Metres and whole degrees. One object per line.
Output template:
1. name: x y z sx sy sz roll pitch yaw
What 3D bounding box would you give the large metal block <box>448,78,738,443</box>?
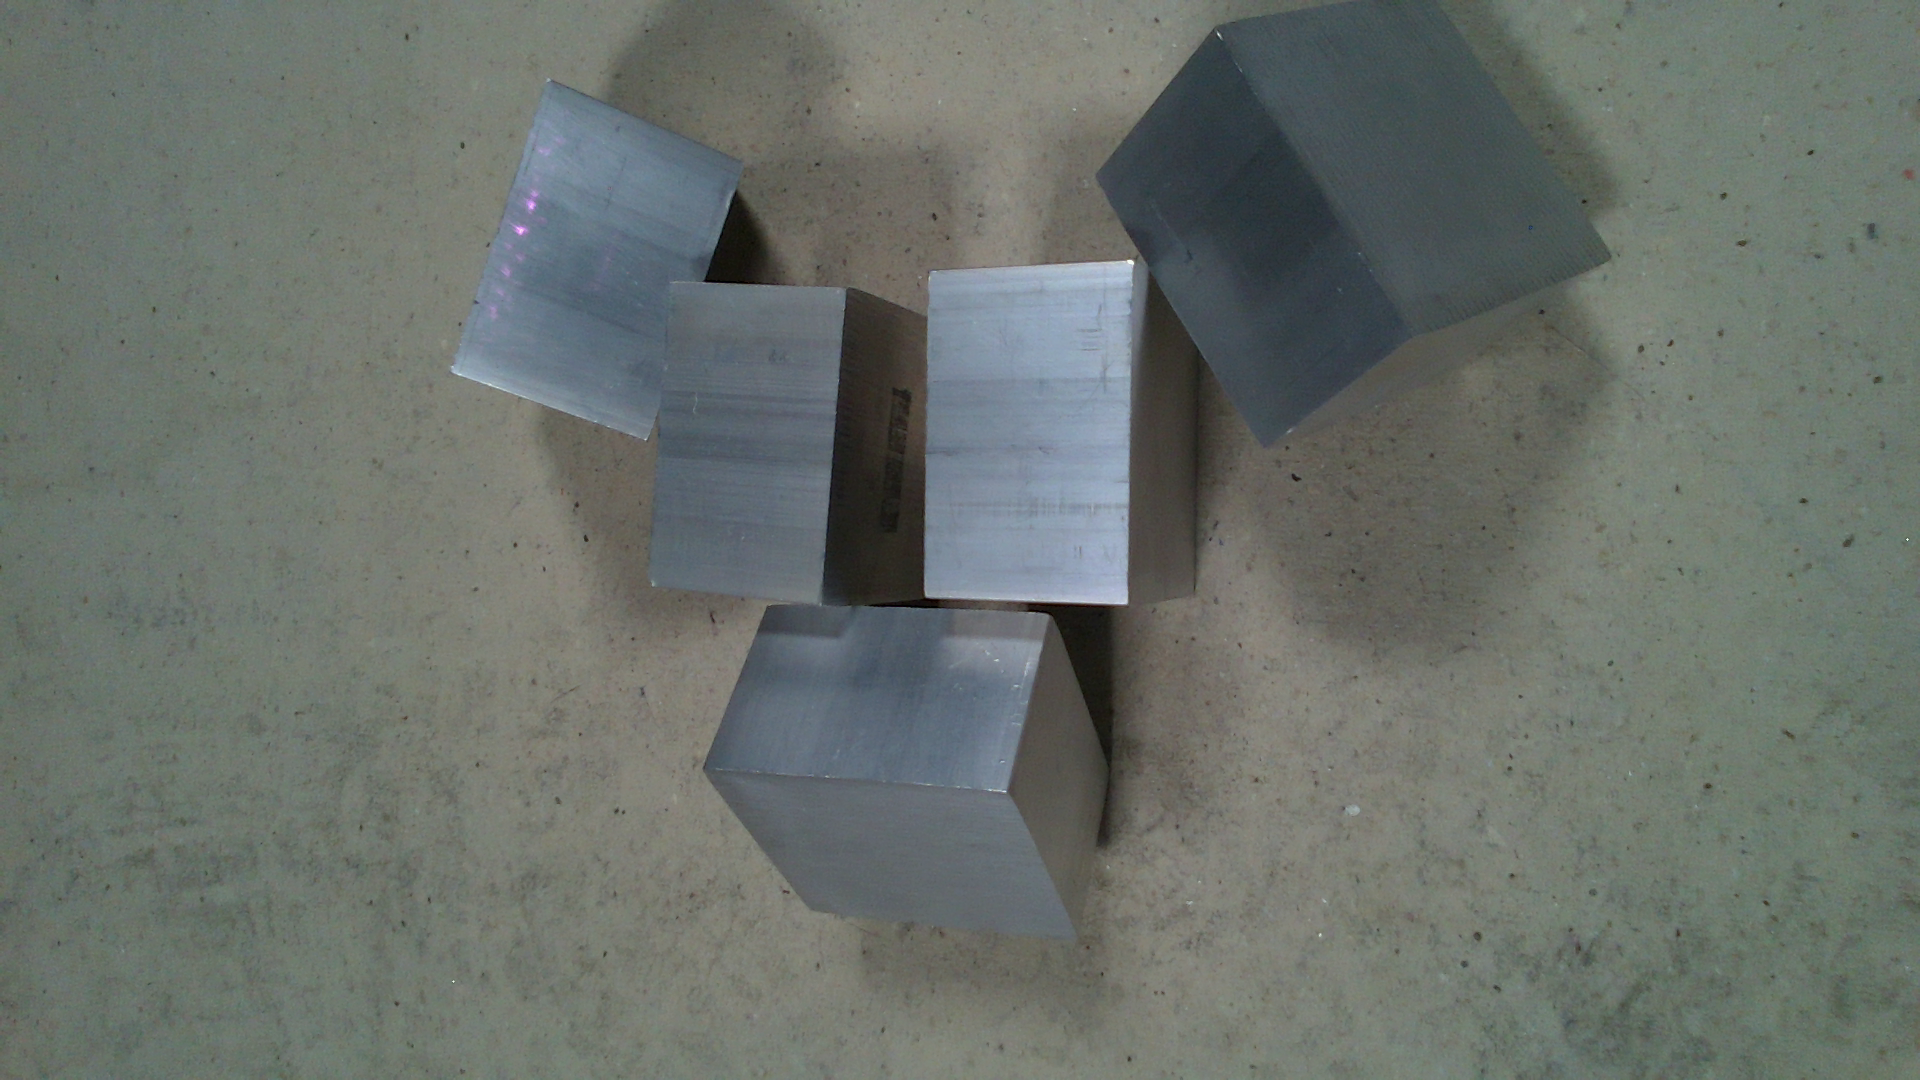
1. large metal block: -0.104 -0.080 0.395 0.050 0.080 0.080 19 98 -17

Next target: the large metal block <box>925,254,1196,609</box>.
1. large metal block: 0.030 -0.025 0.356 0.050 0.080 0.080 1 90 20

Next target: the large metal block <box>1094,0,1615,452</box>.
1. large metal block: 0.093 -0.077 0.326 0.080 0.080 0.050 61 145 11

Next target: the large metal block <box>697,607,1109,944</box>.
1. large metal block: -0.010 0.062 0.364 0.080 0.080 0.050 1 51 20

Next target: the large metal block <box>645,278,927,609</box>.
1. large metal block: -0.041 -0.025 0.382 0.050 0.080 0.080 5 92 20
